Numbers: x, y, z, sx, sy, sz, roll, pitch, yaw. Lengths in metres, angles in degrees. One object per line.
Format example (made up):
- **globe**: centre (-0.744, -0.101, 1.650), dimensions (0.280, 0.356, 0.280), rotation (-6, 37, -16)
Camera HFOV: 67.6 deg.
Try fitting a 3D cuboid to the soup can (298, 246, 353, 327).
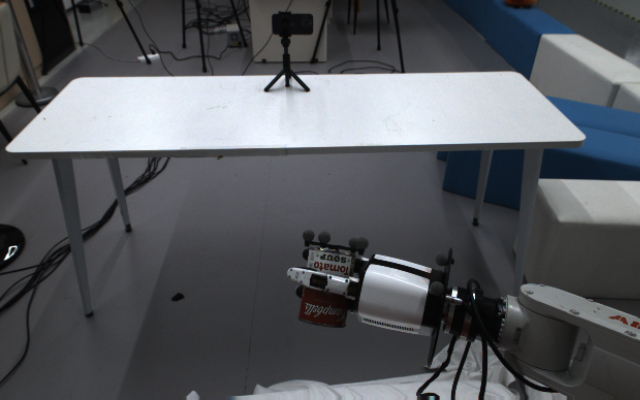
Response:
- **soup can**: centre (0.011, 0.120, 0.672), dimensions (0.067, 0.101, 0.067), rotation (9, -6, 1)
